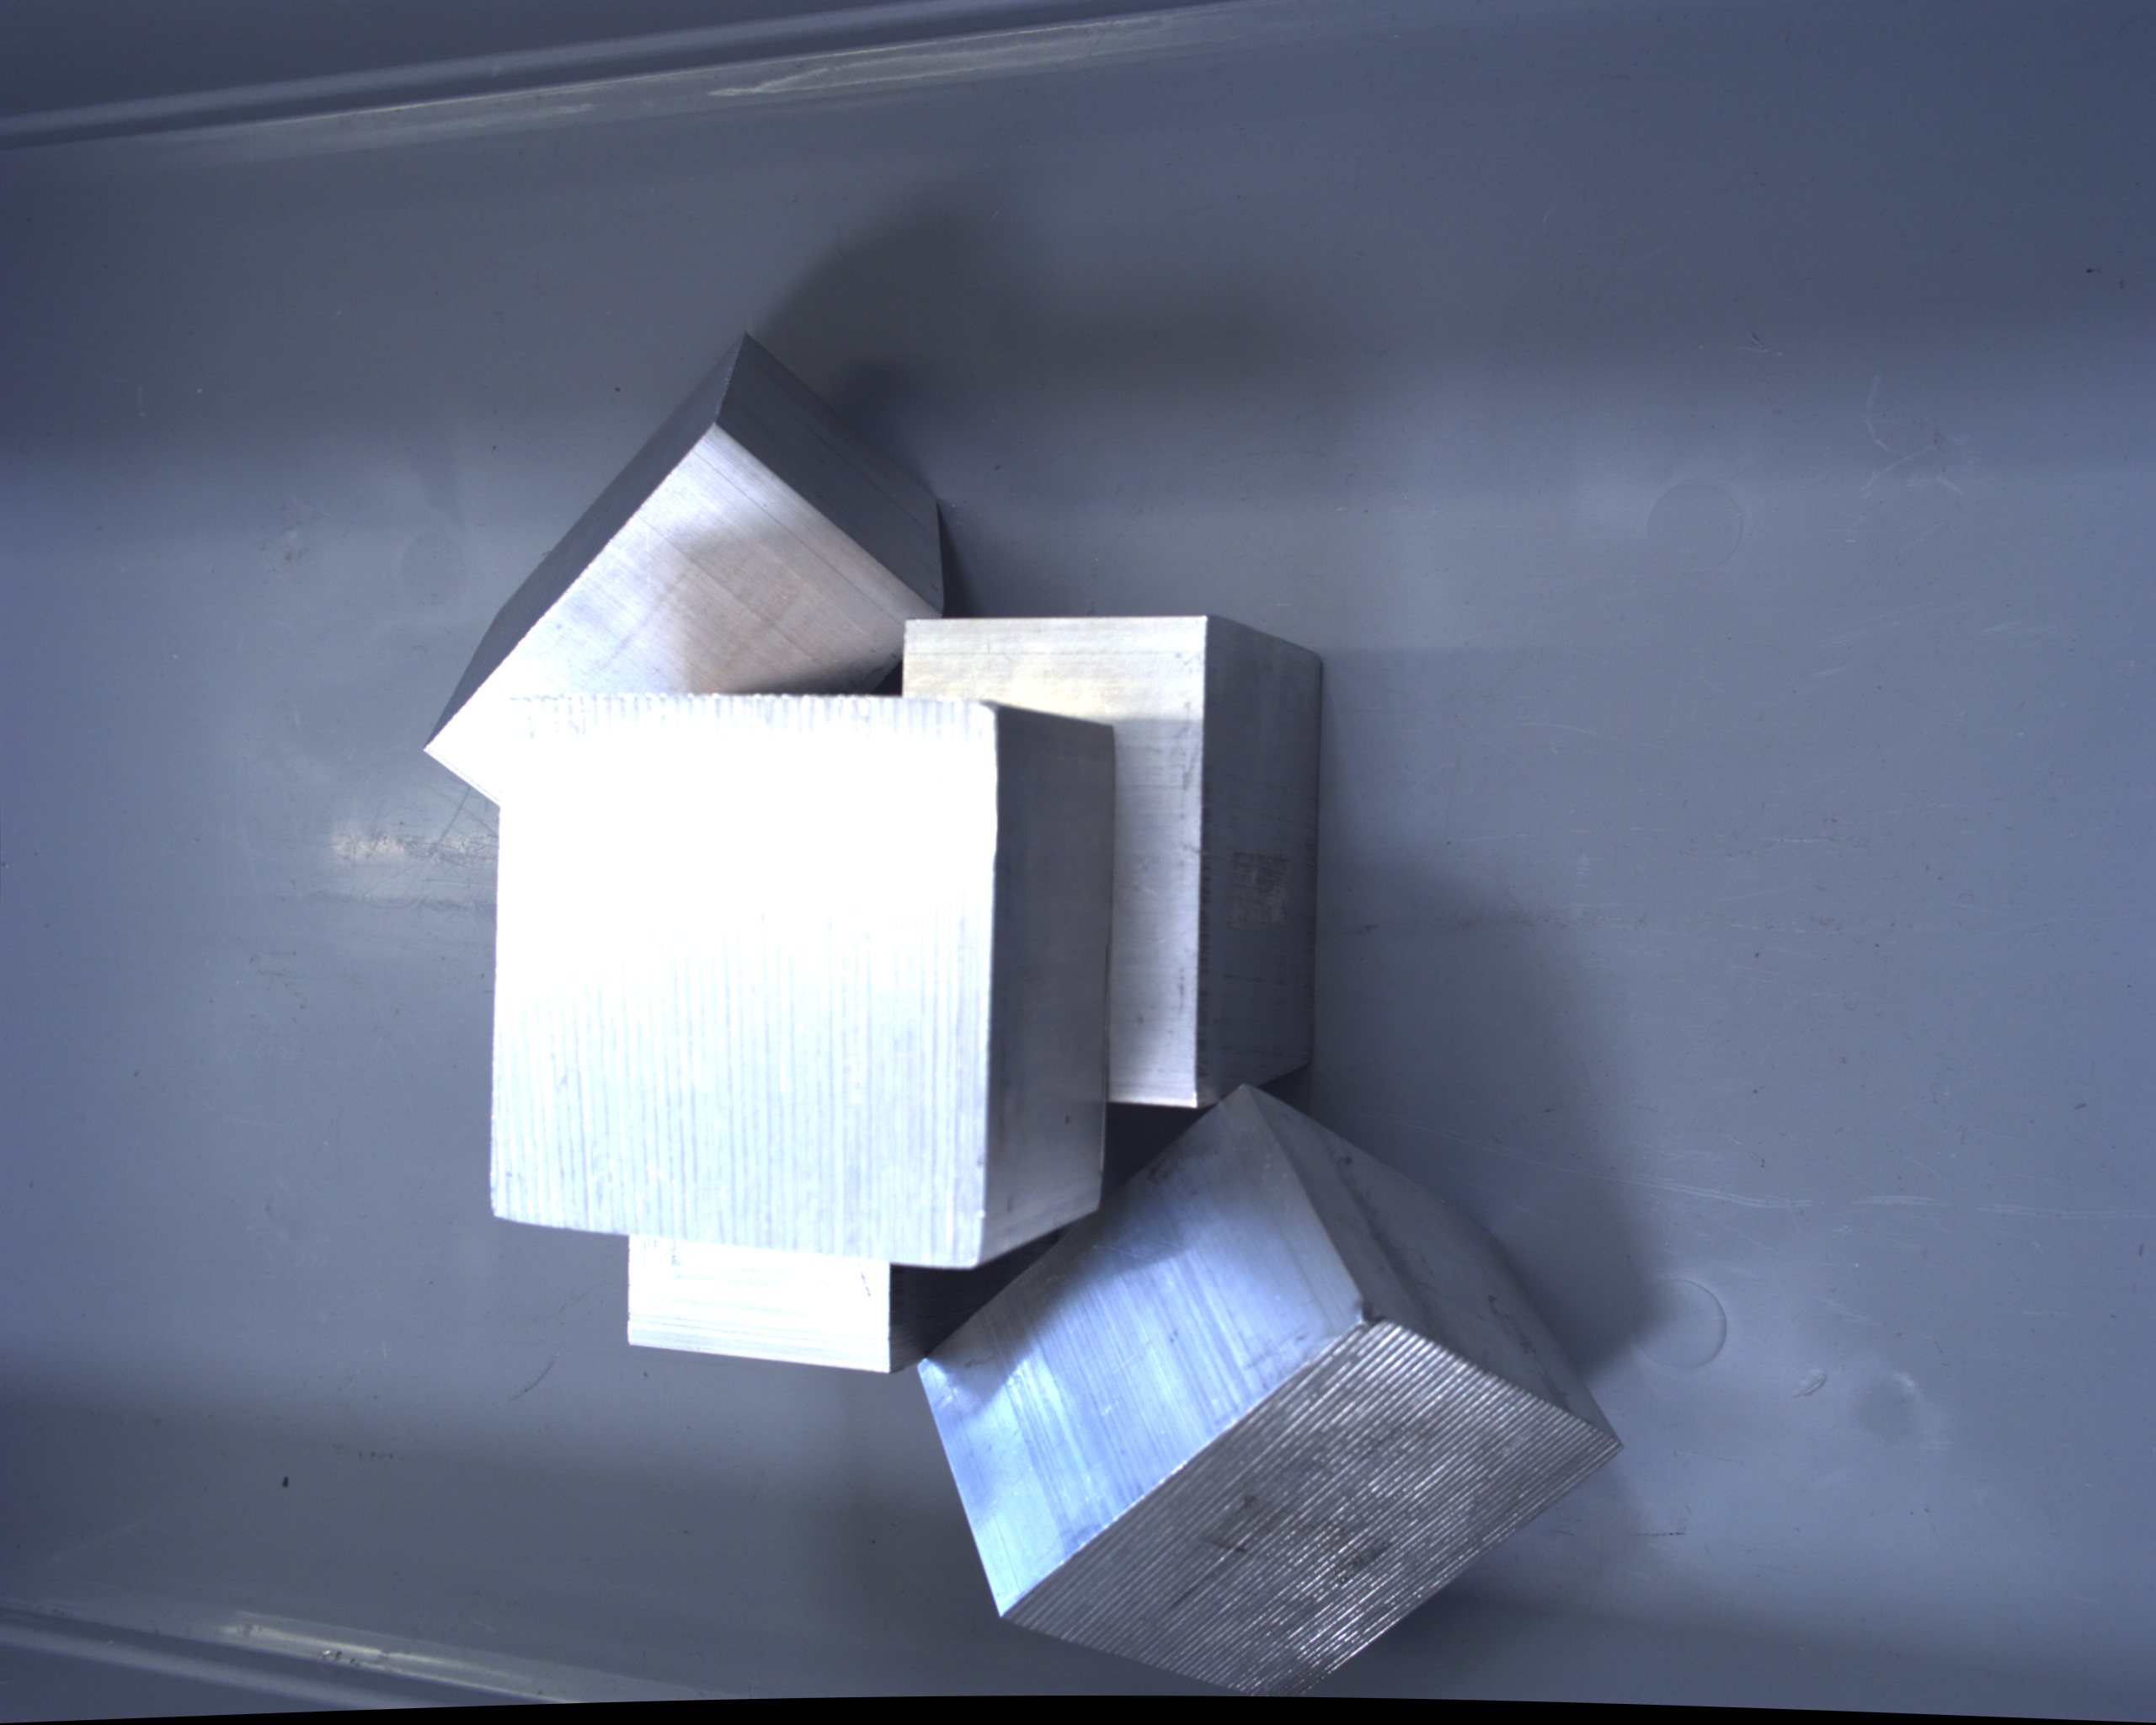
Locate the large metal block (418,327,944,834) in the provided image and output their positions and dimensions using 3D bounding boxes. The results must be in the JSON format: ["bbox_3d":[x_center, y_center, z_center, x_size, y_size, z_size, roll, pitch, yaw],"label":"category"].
[{"bbox_3d":[-0.072,-0.048,0.397,0.050,0.080,0.080,40,105,-21],"label":"large metal block"}]

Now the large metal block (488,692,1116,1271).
[{"bbox_3d":[-0.041,0.015,0.325,0.080,0.050,0.080,2,91,20],"label":"large metal block"}]

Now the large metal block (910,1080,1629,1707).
[{"bbox_3d":[0.033,0.094,0.360,0.080,0.080,0.050,-43,42,15],"label":"large metal block"}]

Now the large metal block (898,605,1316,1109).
[{"bbox_3d":[0.008,-0.001,0.375,0.050,0.080,0.080,1,90,20],"label":"large metal block"}]

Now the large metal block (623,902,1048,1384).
[{"bbox_3d":[-0.042,0.047,0.395,0.050,0.080,0.080,1,90,20],"label":"large metal block"}]
